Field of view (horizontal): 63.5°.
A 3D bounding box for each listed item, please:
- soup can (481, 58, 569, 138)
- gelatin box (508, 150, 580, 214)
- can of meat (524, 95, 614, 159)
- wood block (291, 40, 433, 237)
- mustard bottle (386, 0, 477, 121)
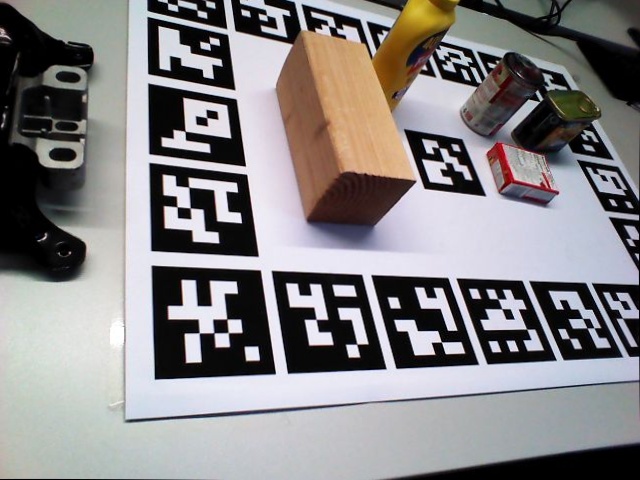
[{"bbox_3d":[0.290,-0.203,0.740,0.068,0.103,0.067,12,56,-19],"label":"soup can"},{"bbox_3d":[0.313,-0.081,0.724,0.089,0.030,0.073,11,57,-17],"label":"gelatin box"},{"bbox_3d":[0.374,-0.169,0.784,0.101,0.084,0.057,-10,65,-34],"label":"can of meat"},{"bbox_3d":[0.039,-0.115,0.575,0.091,0.090,0.205,5,53,-26],"label":"wood block"},{"bbox_3d":[0.128,-0.223,0.631,0.095,0.193,0.058,-24,71,-37],"label":"mustard bottle"}]
